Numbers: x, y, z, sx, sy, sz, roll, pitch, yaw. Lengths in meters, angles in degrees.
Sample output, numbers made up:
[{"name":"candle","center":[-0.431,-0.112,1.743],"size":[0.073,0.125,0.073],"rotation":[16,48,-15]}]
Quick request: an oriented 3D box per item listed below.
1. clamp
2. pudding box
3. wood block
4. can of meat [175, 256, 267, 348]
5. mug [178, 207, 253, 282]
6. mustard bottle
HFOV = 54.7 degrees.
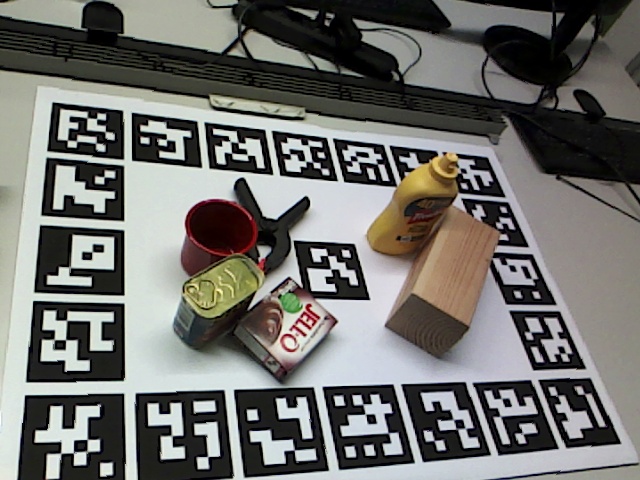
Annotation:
[{"name":"clamp","center":[-0.076,-0.019,0.898],"size":[0.121,0.036,0.165],"rotation":[19,50,-11]},{"name":"pudding box","center":[-0.039,0.116,0.801],"size":[0.090,0.039,0.113],"rotation":[42,47,10]},{"name":"wood block","center":[0.187,0.061,0.916],"size":[0.090,0.091,0.206],"rotation":[31,46,3]},{"name":"can of meat","center":[-0.124,0.077,0.756],"size":[0.101,0.084,0.058],"rotation":[-28,70,-38]},{"name":"mug","center":[-0.143,0.007,0.842],"size":[0.093,0.081,0.117],"rotation":[21,50,-8]},{"name":"mustard bottle","center":[0.148,-0.058,0.918],"size":[0.096,0.191,0.059],"rotation":[-2,56,-25]}]
